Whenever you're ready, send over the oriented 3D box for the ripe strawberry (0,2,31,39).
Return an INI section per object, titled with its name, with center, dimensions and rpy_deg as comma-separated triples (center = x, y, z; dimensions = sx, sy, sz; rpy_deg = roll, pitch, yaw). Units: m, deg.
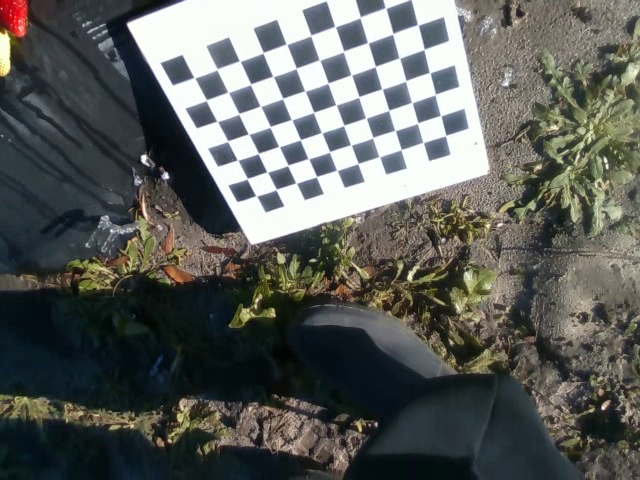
[ripe strawberry]
center = -0.268, -0.195, 0.558
dimensions = 0.042, 0.061, 0.046
rpy_deg = -29, -9, 20
